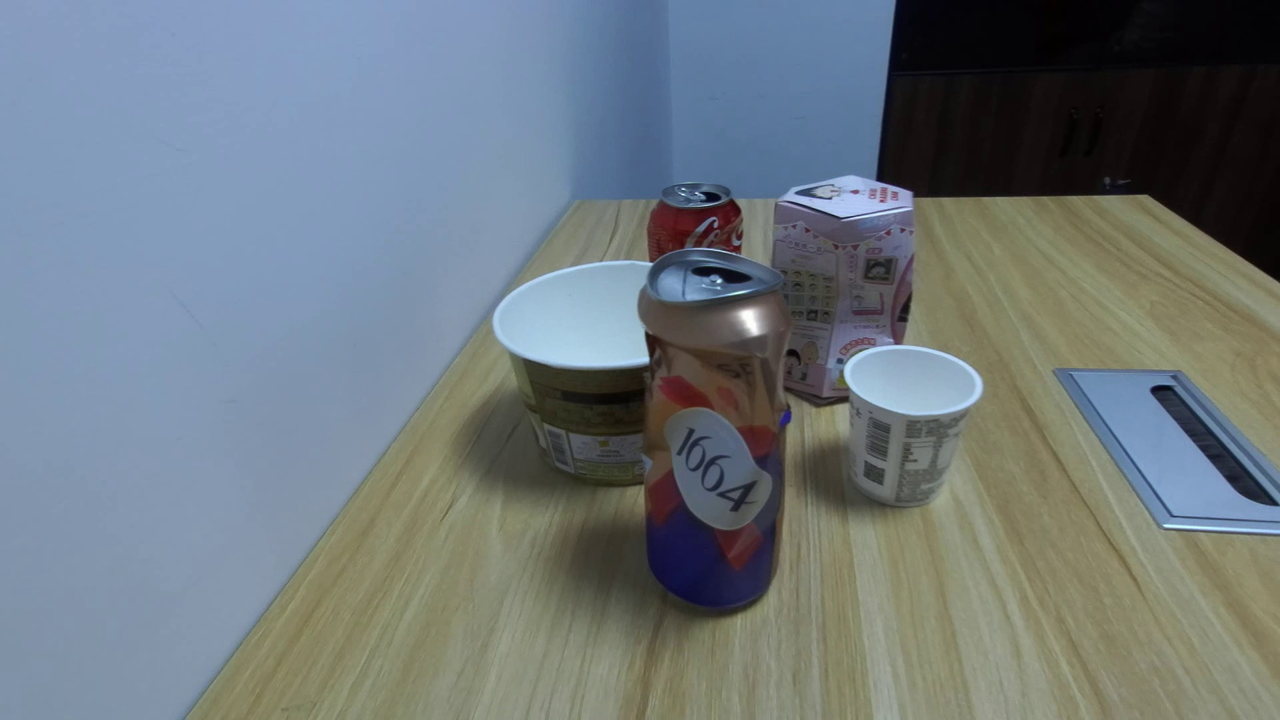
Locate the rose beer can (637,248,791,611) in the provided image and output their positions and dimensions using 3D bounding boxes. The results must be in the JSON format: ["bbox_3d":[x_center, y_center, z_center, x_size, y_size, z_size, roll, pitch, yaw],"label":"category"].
[{"bbox_3d":[0.034,0.037,0.321,0.073,0.162,0.068,9,28,17],"label":"rose beer can"}]

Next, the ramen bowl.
[{"bbox_3d":[-0.011,0.008,0.436,0.140,0.095,0.140,-4,29,3],"label":"ramen bowl"}]

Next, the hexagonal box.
[{"bbox_3d":[0.133,-0.045,0.471,0.093,0.135,0.088,-12,31,-15],"label":"hexagonal box"}]

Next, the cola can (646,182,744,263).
[{"bbox_3d":[0.043,-0.077,0.555,0.065,0.117,0.066,16,34,32],"label":"cola can"}]

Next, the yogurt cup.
[{"bbox_3d":[0.145,0.038,0.389,0.072,0.068,0.072,-3,31,2],"label":"yogurt cup"}]
